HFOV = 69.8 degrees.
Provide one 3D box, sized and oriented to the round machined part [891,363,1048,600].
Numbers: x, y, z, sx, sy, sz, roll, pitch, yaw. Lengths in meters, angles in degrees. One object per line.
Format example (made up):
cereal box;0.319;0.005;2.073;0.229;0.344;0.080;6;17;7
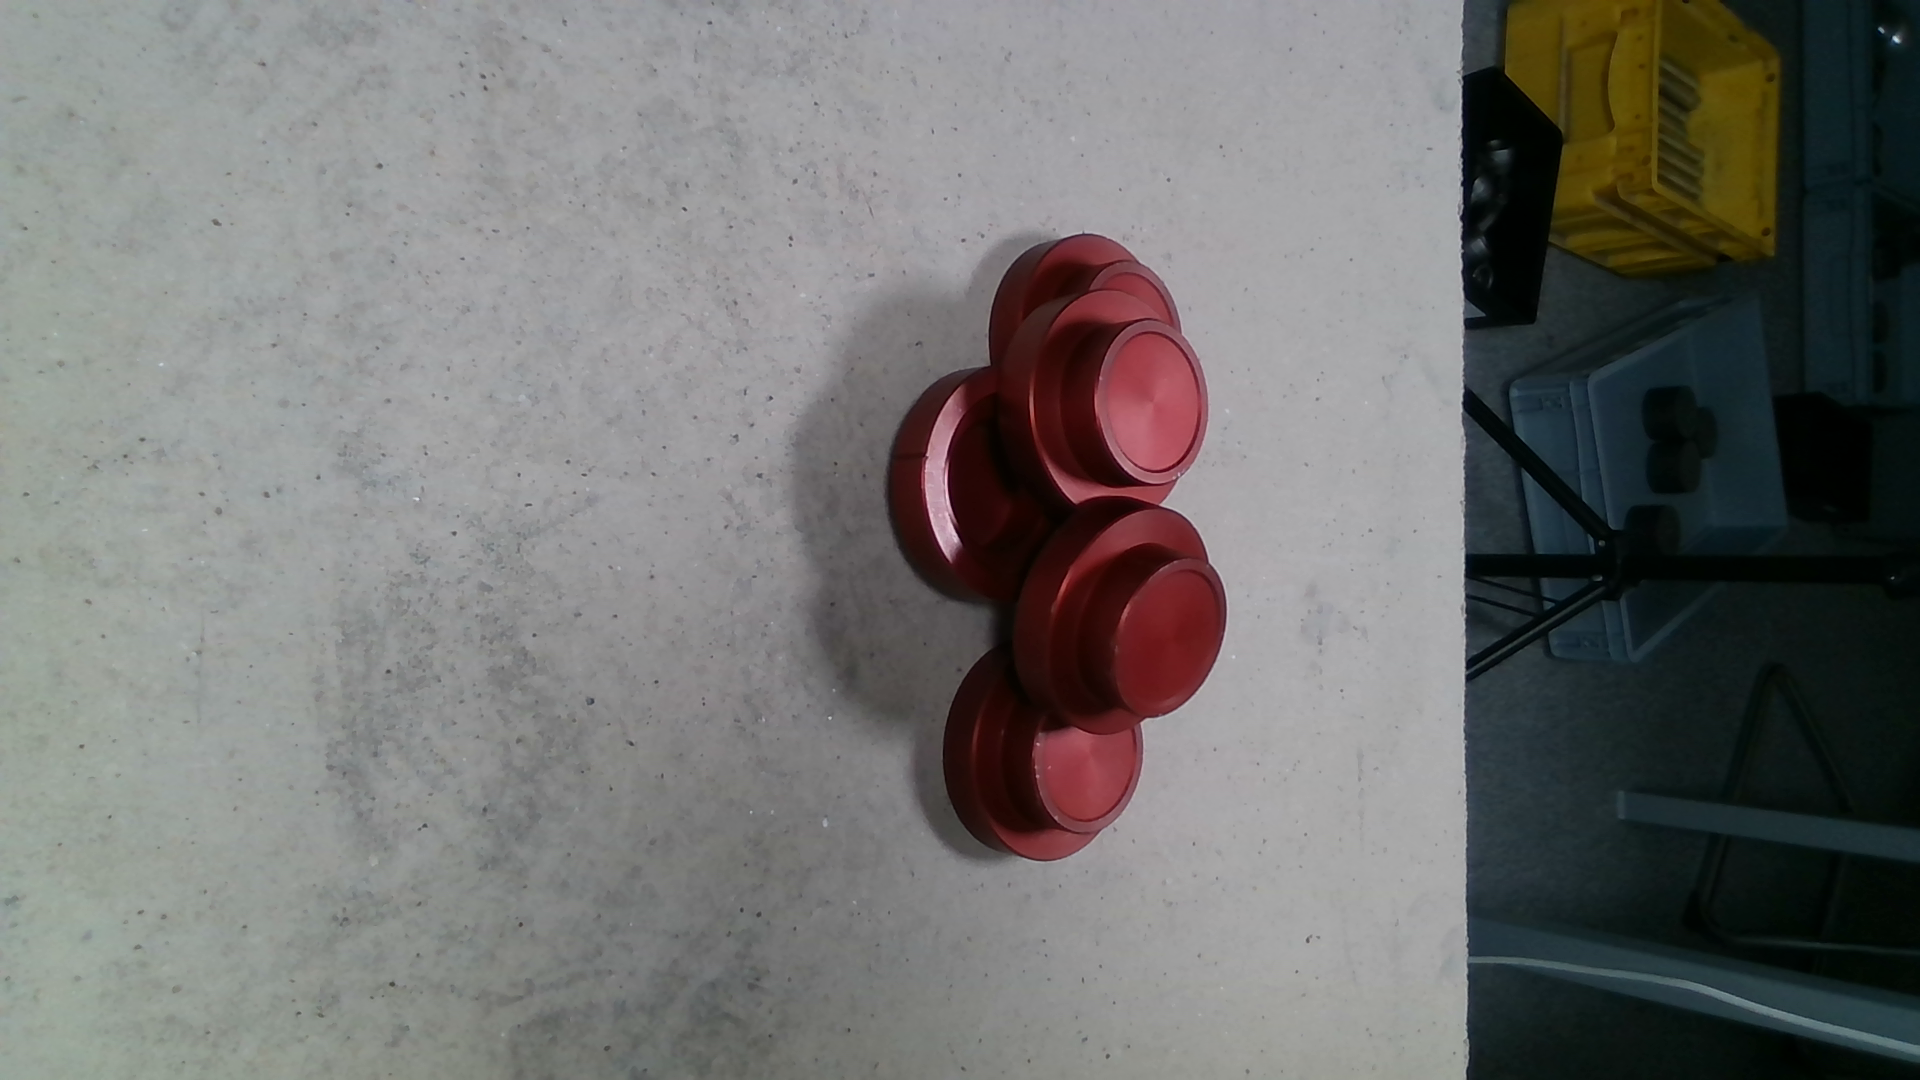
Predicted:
round machined part;0.009;-0.024;0.580;0.098;0.042;0.098;0;90;-40

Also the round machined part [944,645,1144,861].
round machined part;0.043;0.093;0.608;0.098;0.042;0.098;0;90;-40

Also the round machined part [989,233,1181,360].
round machined part;0.063;-0.090;0.625;0.098;0.042;0.098;0;90;-40

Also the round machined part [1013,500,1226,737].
round machined part;0.071;0.034;0.564;0.098;0.042;0.098;-14;112;-38

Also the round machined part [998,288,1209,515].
round machined part;0.066;-0.056;0.572;0.098;0.042;0.098;0;90;-40
